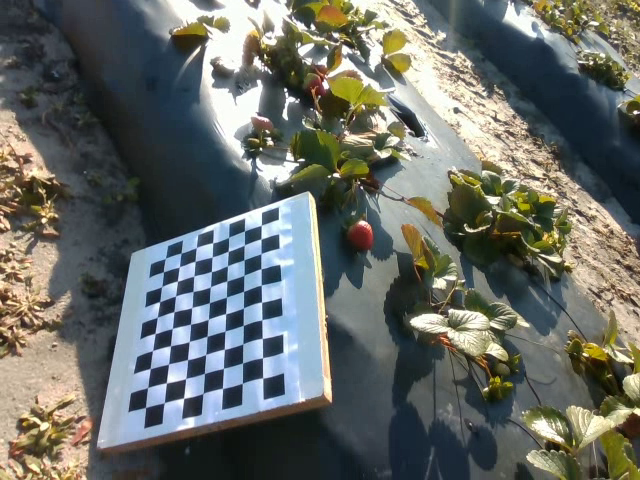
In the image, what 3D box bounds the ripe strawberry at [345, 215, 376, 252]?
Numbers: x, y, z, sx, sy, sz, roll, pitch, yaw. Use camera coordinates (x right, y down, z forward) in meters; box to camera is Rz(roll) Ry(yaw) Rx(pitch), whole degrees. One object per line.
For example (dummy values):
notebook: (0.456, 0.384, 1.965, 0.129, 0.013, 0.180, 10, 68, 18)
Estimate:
ripe strawberry: (0.062, -0.005, 0.867, 0.044, 0.064, 0.044, -31, -42, 3)
